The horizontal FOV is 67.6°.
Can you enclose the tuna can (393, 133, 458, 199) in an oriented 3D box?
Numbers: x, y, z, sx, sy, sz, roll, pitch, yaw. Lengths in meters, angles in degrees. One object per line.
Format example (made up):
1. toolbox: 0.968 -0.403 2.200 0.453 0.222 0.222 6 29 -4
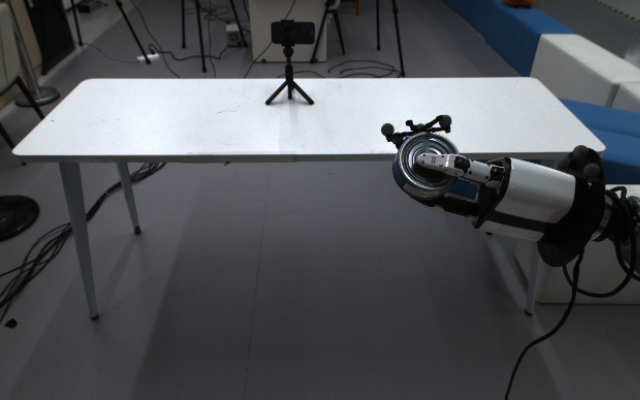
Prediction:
1. tuna can: 0.143 -0.048 0.636 0.085 0.034 0.085 0 72 -1
